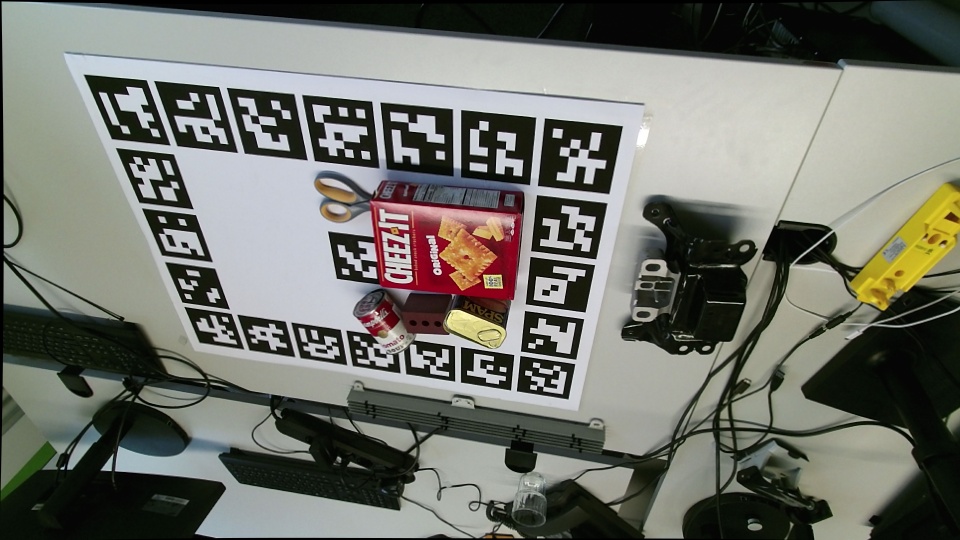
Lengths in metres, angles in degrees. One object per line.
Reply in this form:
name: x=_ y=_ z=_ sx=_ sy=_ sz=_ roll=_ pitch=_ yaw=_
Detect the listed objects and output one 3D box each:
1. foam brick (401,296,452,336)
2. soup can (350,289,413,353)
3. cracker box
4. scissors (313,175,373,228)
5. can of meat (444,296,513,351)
foam brick: x=-0.091 y=0.080 z=0.929 sx=0.078 sy=0.051 sz=0.053 roll=-2 pitch=123 yaw=13
soup can: x=-0.173 y=0.092 z=0.954 sx=0.068 sy=0.067 sz=0.102 roll=-27 pitch=120 yaw=26
cracker box: x=-0.046 y=-0.042 z=0.804 sx=0.214 sy=0.072 sz=0.164 roll=1 pitch=125 yaw=6
scissors: x=-0.154 y=-0.102 z=0.823 sx=0.203 sy=0.016 sz=0.088 roll=3 pitch=124 yaw=9
can of meat: x=0.001 y=0.076 z=0.885 sx=0.102 sy=0.083 sz=0.058 roll=19 pitch=125 yaw=-1
